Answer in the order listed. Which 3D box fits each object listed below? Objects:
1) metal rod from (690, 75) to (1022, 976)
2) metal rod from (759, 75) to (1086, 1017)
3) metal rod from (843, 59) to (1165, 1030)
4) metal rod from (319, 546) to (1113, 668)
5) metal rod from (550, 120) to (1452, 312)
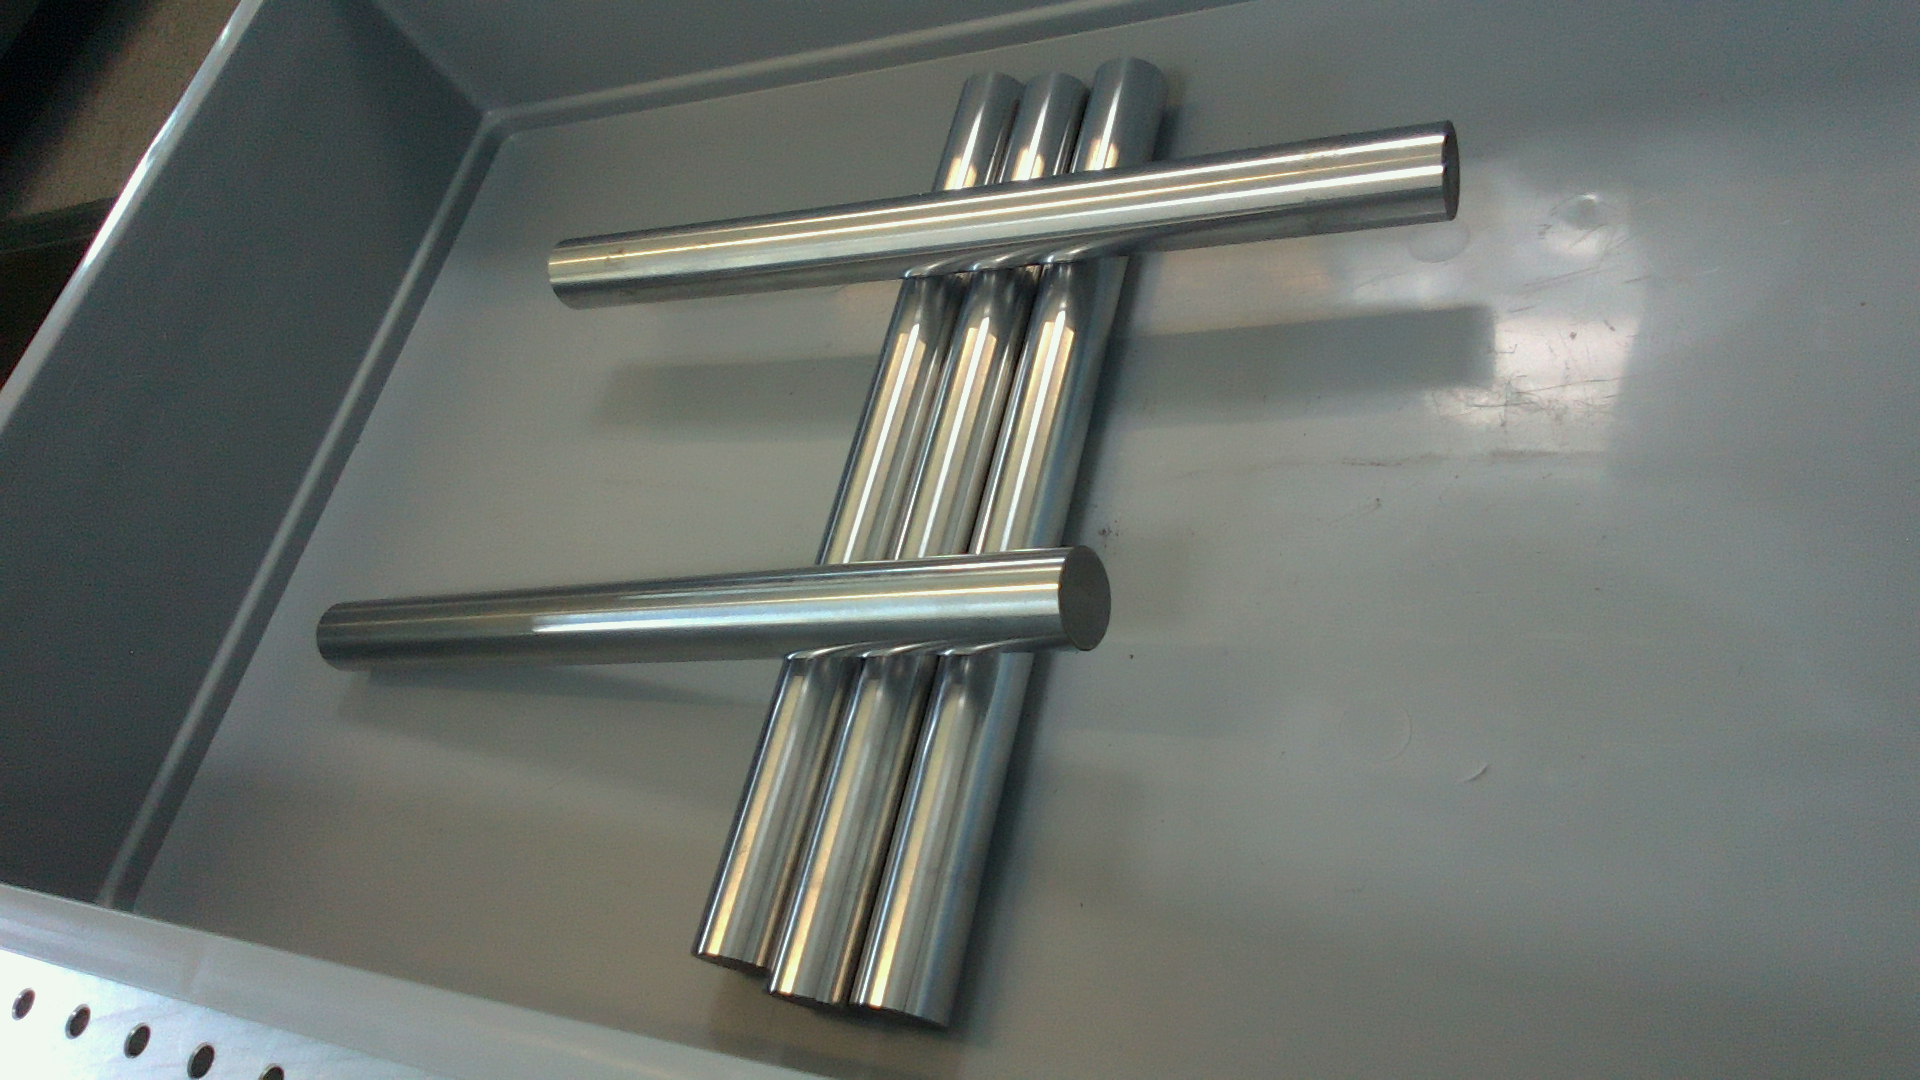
[{"bbox_3d":[-0.022,-0.021,0.419,0.025,0.025,0.300,1,62,29],"label":"metal rod"},{"bbox_3d":[-0.002,-0.016,0.405,0.025,0.025,0.300,1,62,29],"label":"metal rod"},{"bbox_3d":[0.020,-0.017,0.392,0.025,0.025,0.300,1,62,29],"label":"metal rod"},{"bbox_3d":[-0.093,0.024,0.405,0.299,0.025,0.025,-5,59,34],"label":"metal rod"},{"bbox_3d":[-0.007,-0.094,0.422,0.299,0.025,0.025,0,62,29],"label":"metal rod"}]
